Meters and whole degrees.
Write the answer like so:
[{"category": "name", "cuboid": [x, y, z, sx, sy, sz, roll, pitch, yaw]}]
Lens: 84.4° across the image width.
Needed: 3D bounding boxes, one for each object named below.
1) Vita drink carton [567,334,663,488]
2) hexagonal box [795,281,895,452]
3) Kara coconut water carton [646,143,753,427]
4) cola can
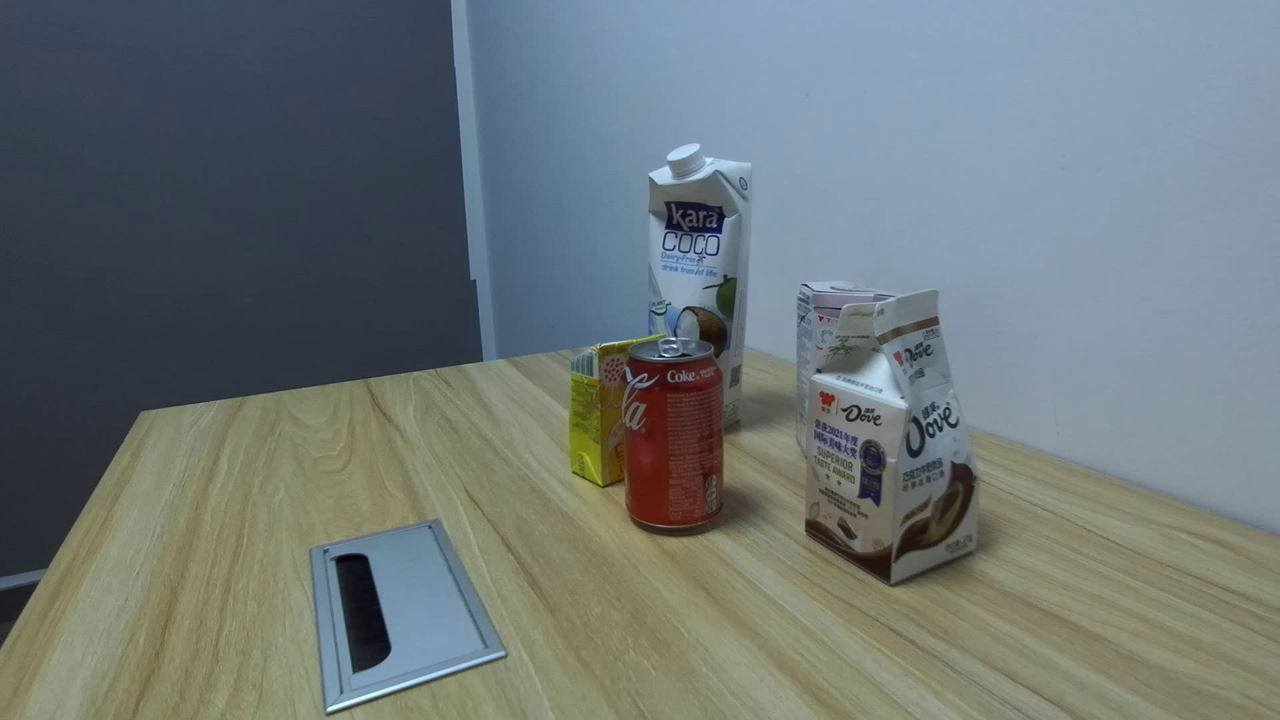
[{"category": "Vita drink carton", "cuboid": [-0.017, 0.033, 0.537, 0.071, 0.109, 0.046, -13, 20, -38]}, {"category": "hexagonal box", "cuboid": [0.166, 0.009, 0.554, 0.091, 0.135, 0.085, 8, 18, 33]}, {"category": "Kara coconut water carton", "cuboid": [0.051, -0.059, 0.609, 0.099, 0.244, 0.071, 8, 17, 35]}, {"category": "cola can", "cuboid": [0.021, 0.047, 0.462, 0.068, 0.120, 0.068, -2, 16, 1]}]
